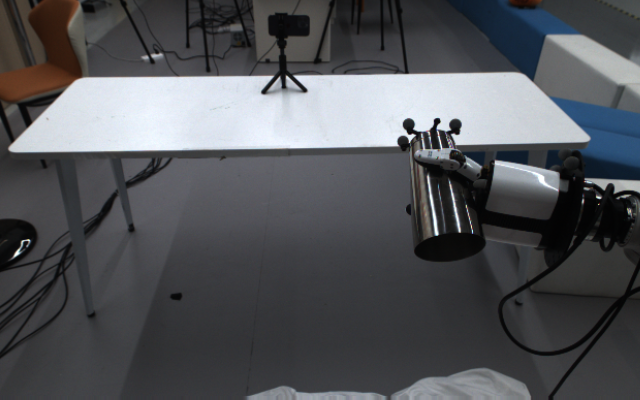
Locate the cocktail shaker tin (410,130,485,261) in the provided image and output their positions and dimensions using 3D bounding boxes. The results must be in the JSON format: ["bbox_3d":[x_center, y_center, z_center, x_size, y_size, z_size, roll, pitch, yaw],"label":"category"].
[{"bbox_3d":[0.165,-0.012,0.667,0.093,0.093,0.170,0,59,-3],"label":"cocktail shaker tin"}]
